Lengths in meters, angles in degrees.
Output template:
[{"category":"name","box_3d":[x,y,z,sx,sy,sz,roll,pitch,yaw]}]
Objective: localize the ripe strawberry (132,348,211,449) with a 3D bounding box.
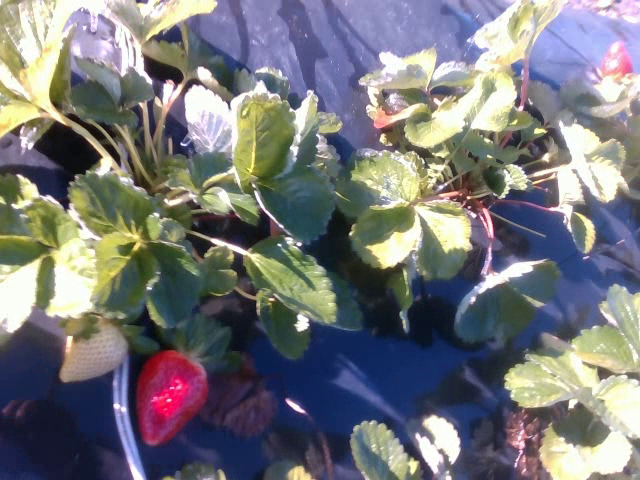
[{"category":"ripe strawberry","box_3d":[-0.098,0.107,0.406,0.040,0.062,0.080,-9,40,26]}]
